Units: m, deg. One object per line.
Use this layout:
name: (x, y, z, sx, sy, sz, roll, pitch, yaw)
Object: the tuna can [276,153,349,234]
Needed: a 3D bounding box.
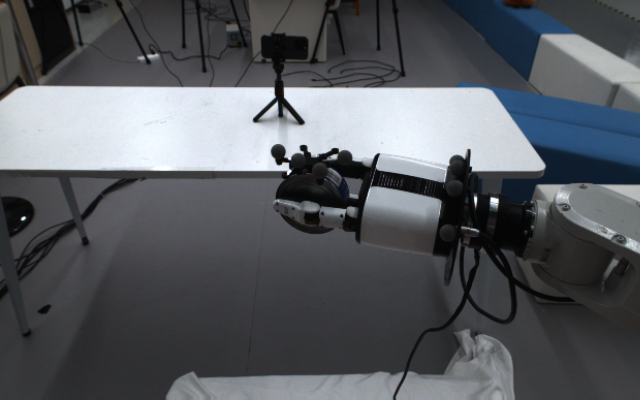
tuna can: (-0.007, -0.004, 0.587, 0.085, 0.085, 0.034, 10, 34, 12)
